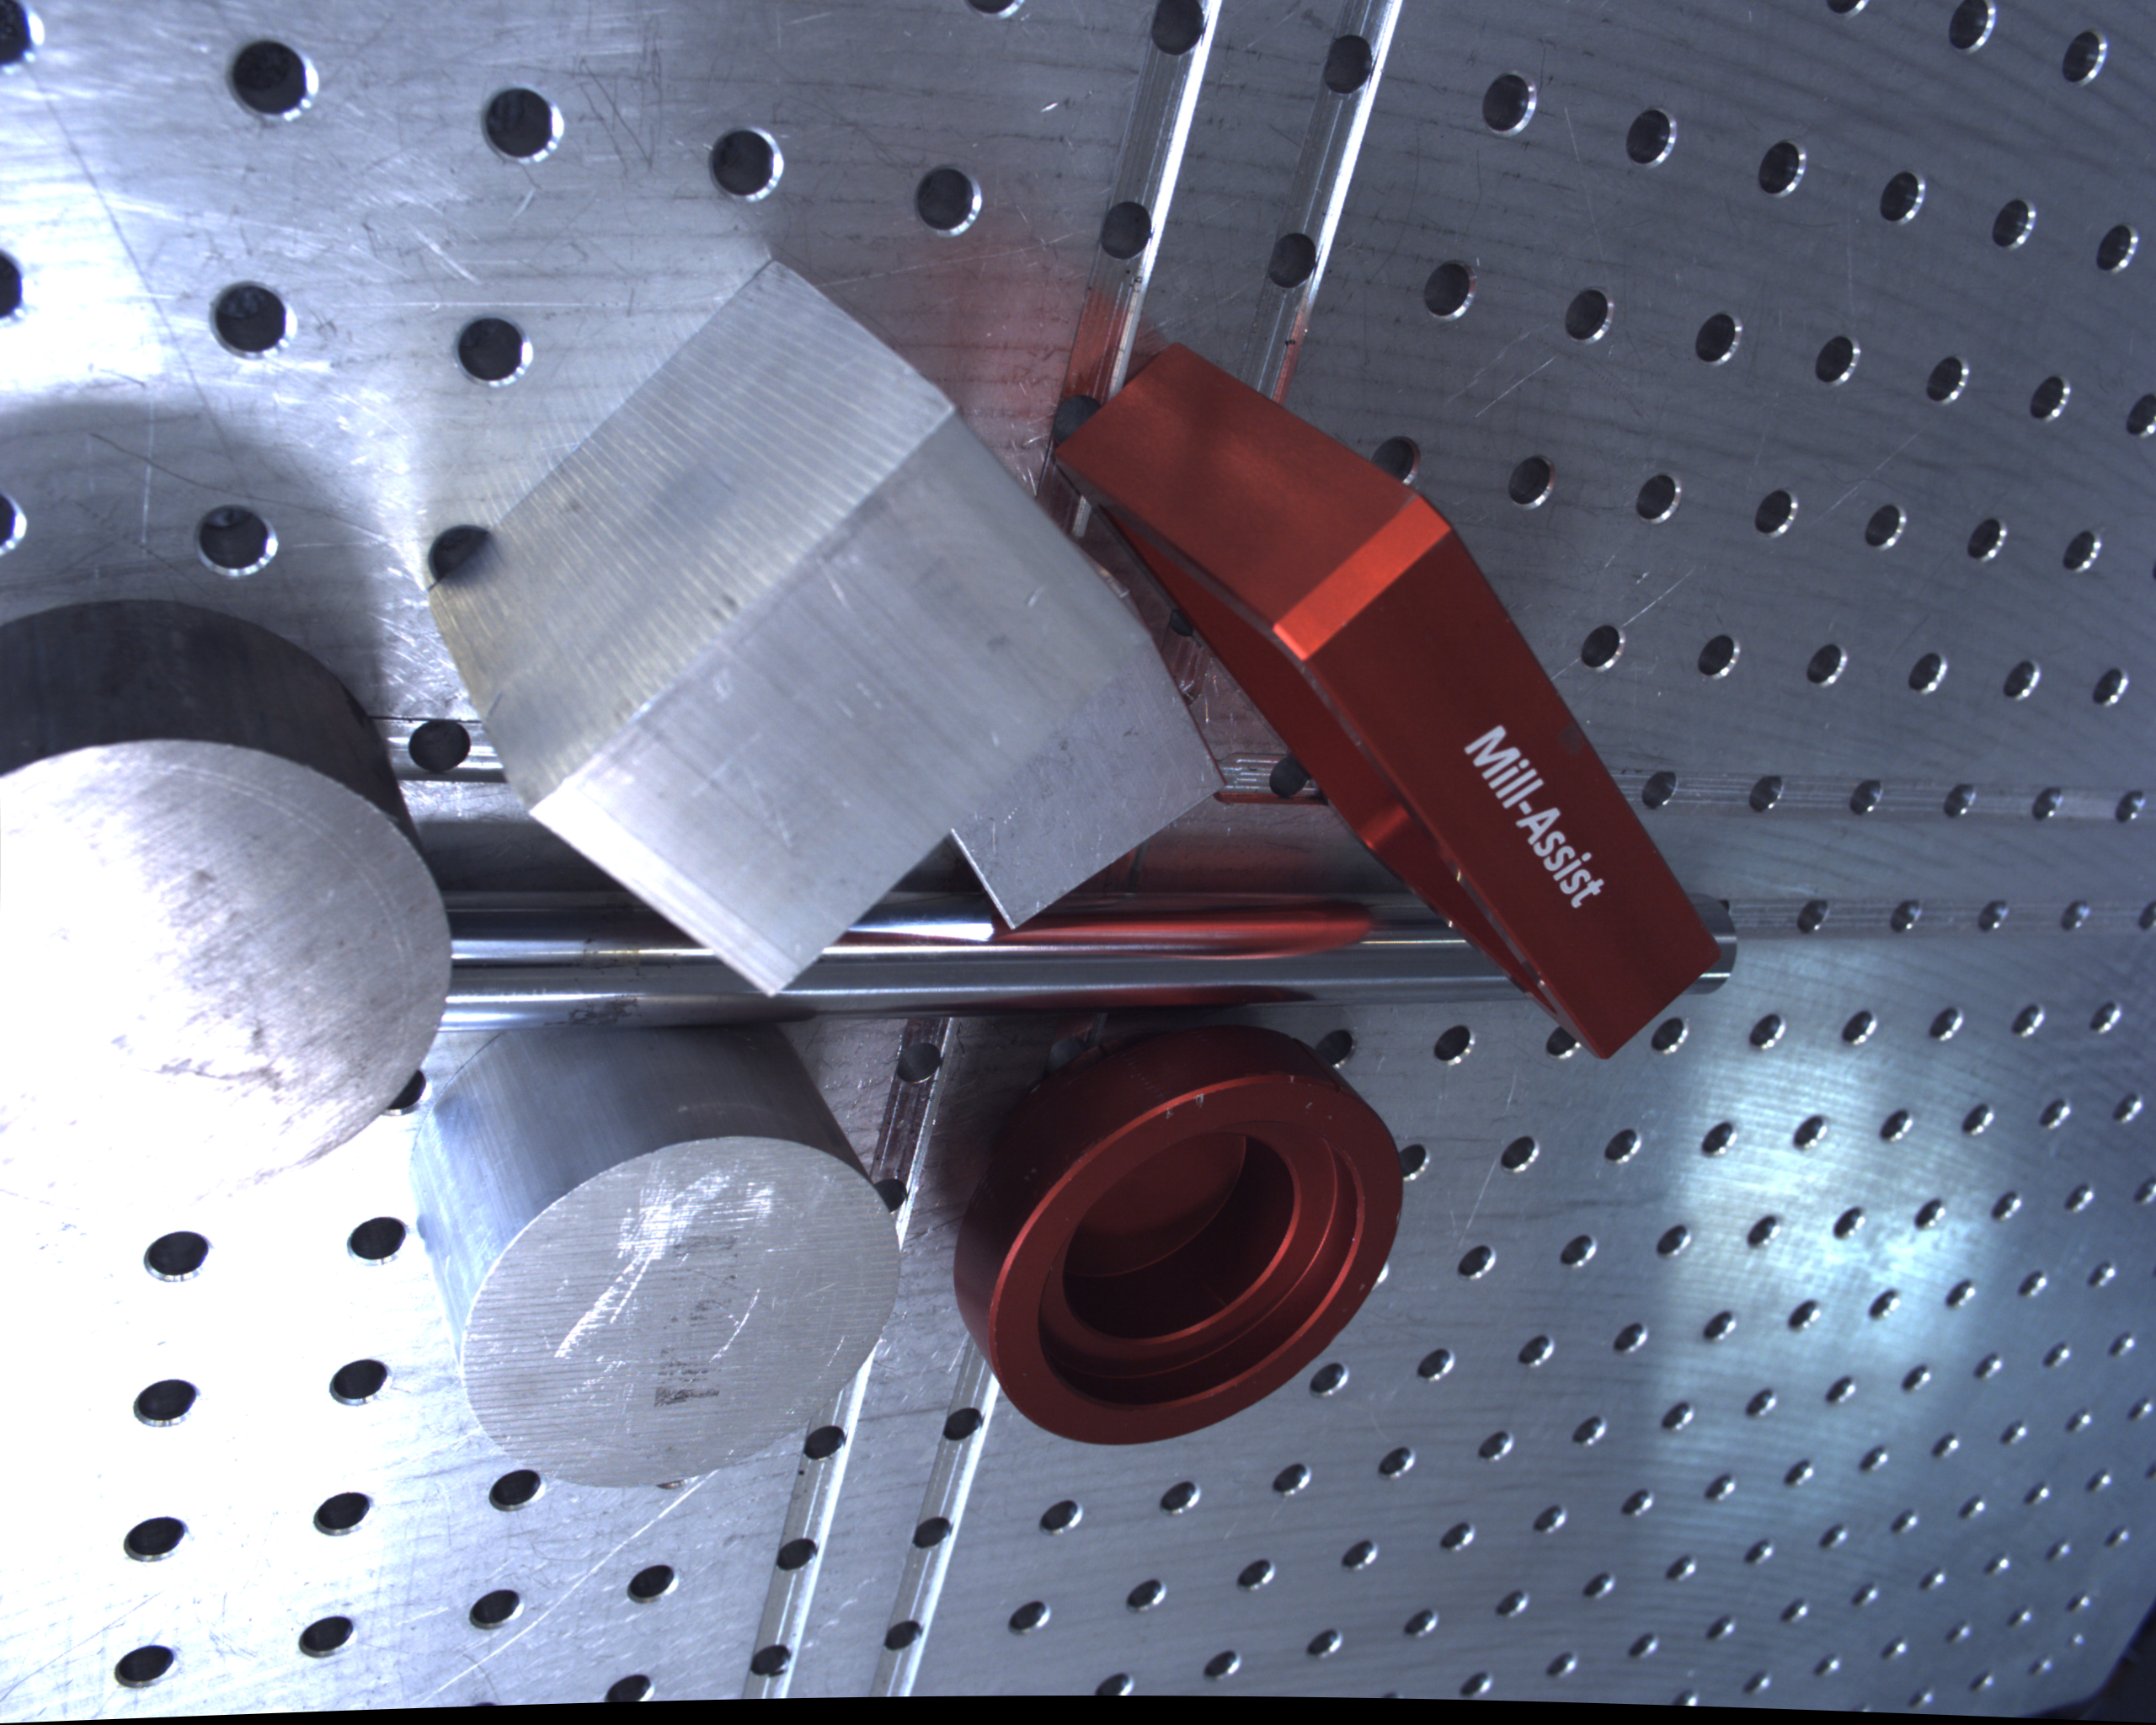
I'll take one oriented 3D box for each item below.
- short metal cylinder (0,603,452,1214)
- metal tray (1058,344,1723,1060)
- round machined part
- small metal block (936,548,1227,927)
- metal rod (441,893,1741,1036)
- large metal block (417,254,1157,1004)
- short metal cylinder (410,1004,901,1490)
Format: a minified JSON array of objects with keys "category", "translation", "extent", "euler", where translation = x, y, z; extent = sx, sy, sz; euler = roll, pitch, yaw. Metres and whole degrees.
[{"category":"short metal cylinder","translation":[-0.142,0.007,0.320],"extent":[0.081,0.050,0.079],"euler":[-14,124,-21]},{"category":"metal tray","translation":[0.058,-0.028,0.383],"extent":[0.030,0.090,0.130],"euler":[-43,129,1]},{"category":"round machined part","translation":[0.018,0.076,0.457],"extent":[0.099,0.042,0.097],"euler":[-14,124,-21]},{"category":"small metal block","translation":[-0.007,-0.024,0.392],"extent":[0.050,0.025,0.050],"euler":[-34,129,-6]},{"category":"metal rod","translation":[0.019,0.019,0.433],"extent":[0.303,0.025,0.025],"euler":[1,118,-29]},{"category":"large metal block","translation":[-0.048,-0.039,0.325],"extent":[0.080,0.080,0.050],"euler":[-44,130,2]},{"category":"short metal cylinder","translation":[-0.080,0.070,0.394],"extent":[0.081,0.050,0.079],"euler":[-14,124,-21]}]
